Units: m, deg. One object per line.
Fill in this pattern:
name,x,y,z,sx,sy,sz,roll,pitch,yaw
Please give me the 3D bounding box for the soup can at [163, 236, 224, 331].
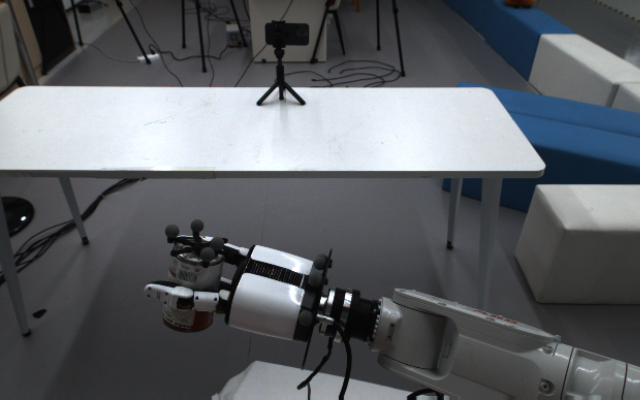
soup can,-0.163,0.112,0.629,0.067,0.101,0.067,13,18,-4
